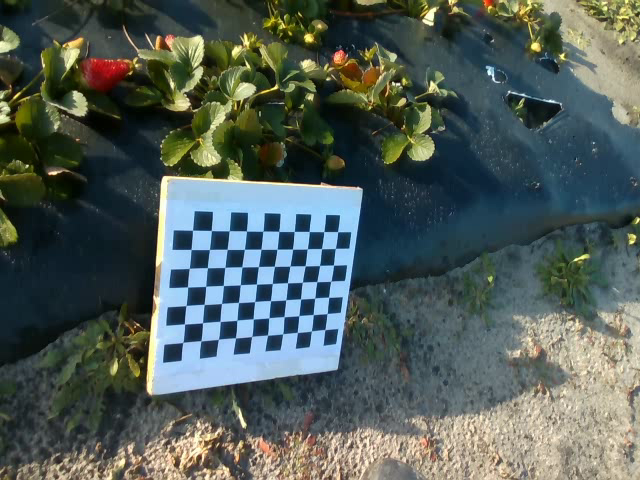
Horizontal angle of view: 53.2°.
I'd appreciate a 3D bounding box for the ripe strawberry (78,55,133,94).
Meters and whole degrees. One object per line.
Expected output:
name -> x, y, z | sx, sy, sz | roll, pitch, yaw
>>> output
ripe strawberry -> -0.275, -0.217, 0.789 | 0.072, 0.057, 0.055 | -22, 27, -15
